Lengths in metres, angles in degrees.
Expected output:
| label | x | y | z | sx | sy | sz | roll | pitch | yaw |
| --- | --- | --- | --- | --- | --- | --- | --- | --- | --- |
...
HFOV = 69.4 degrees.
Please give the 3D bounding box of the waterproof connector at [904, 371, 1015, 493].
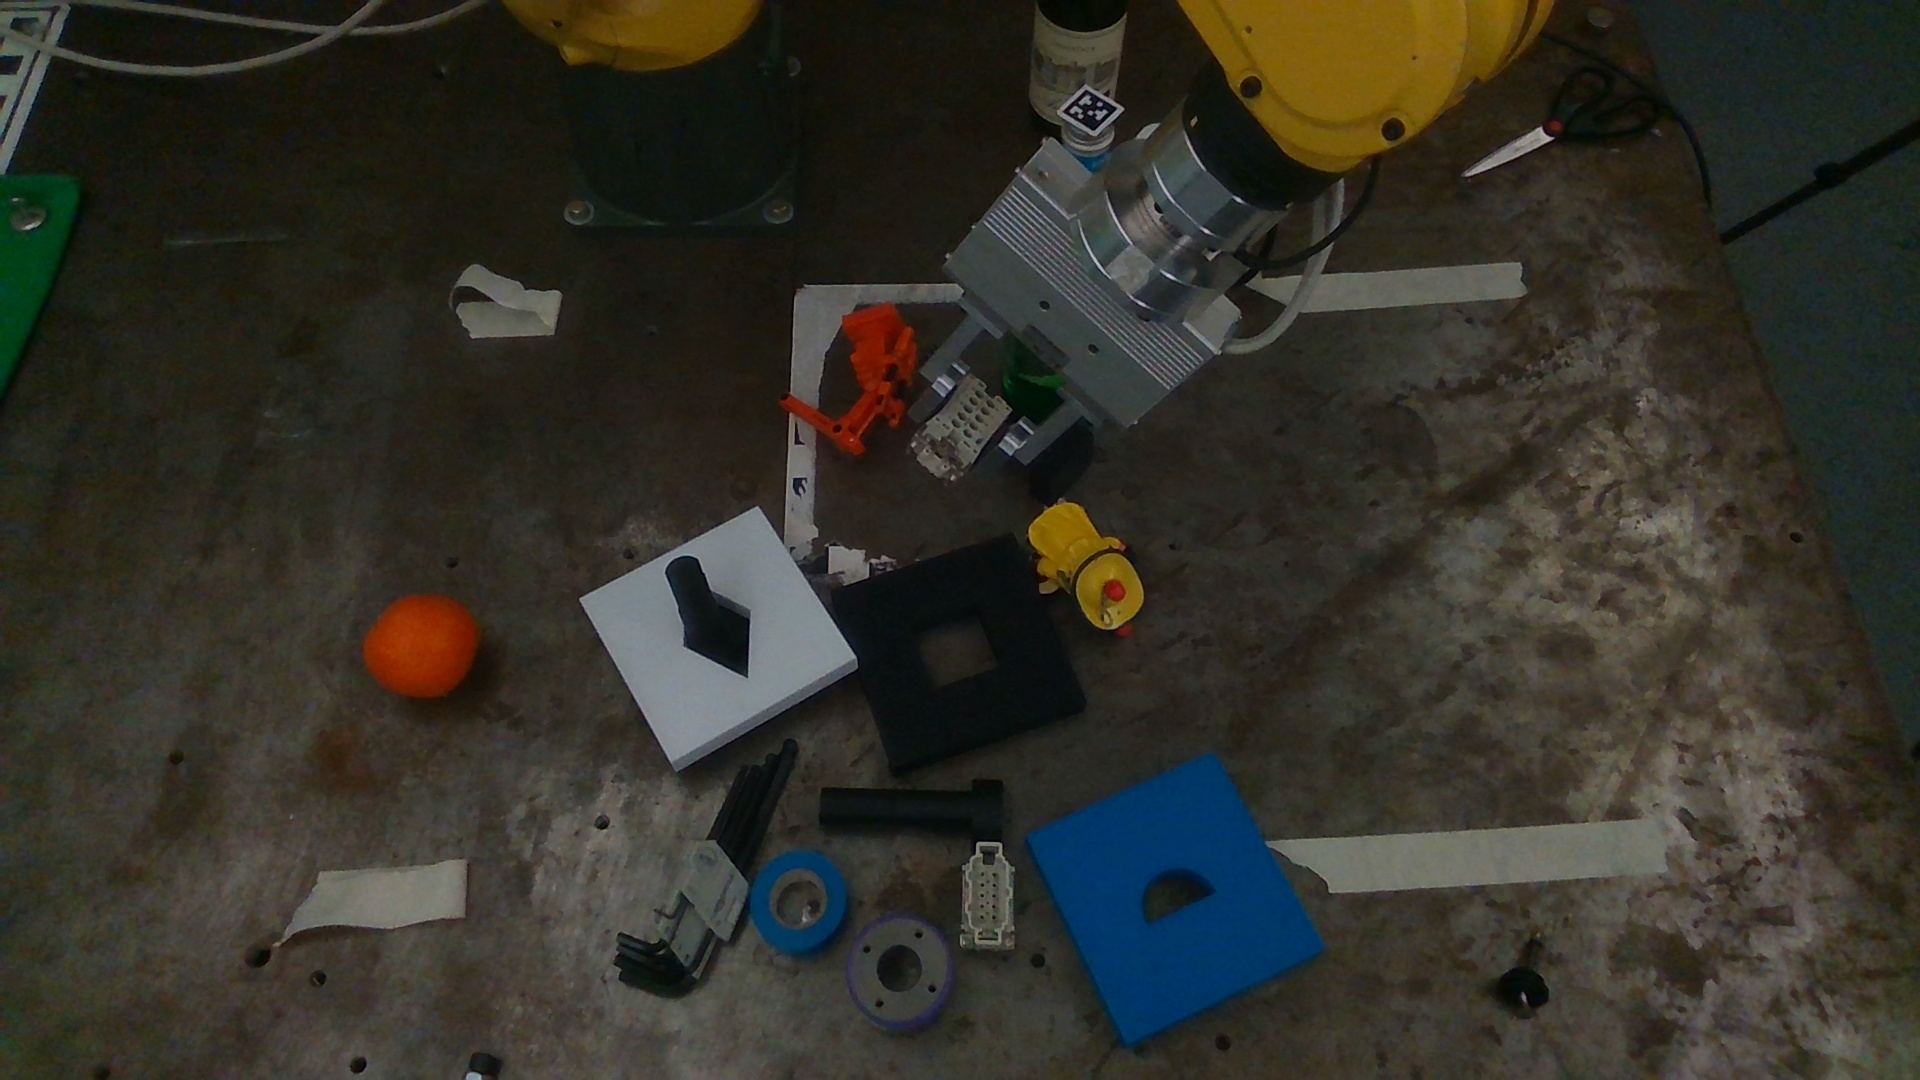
| label | x | y | z | sx | sy | sz | roll | pitch | yaw |
| --- | --- | --- | --- | --- | --- | --- | --- | --- | --- |
| waterproof connector | -0.002 | -0.060 | 0.755 | 0.036 | 0.039 | 0.069 | 43 | 59 | -11 |
